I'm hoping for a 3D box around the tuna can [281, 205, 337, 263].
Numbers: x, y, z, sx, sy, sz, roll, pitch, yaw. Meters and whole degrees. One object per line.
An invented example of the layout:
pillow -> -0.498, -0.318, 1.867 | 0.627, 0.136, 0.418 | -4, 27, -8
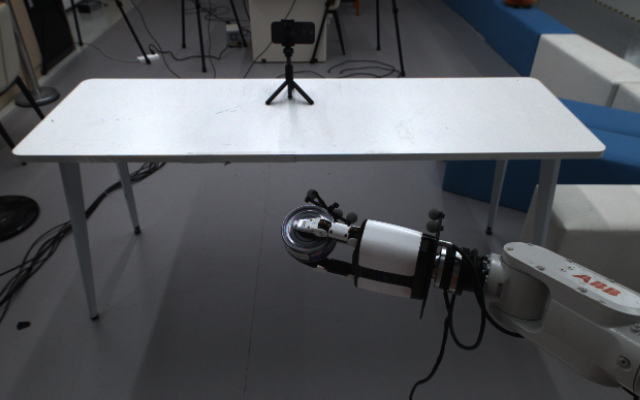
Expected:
tuna can -> -0.015, 0.050, 0.747 | 0.085, 0.034, 0.085 | -4, 58, 6
